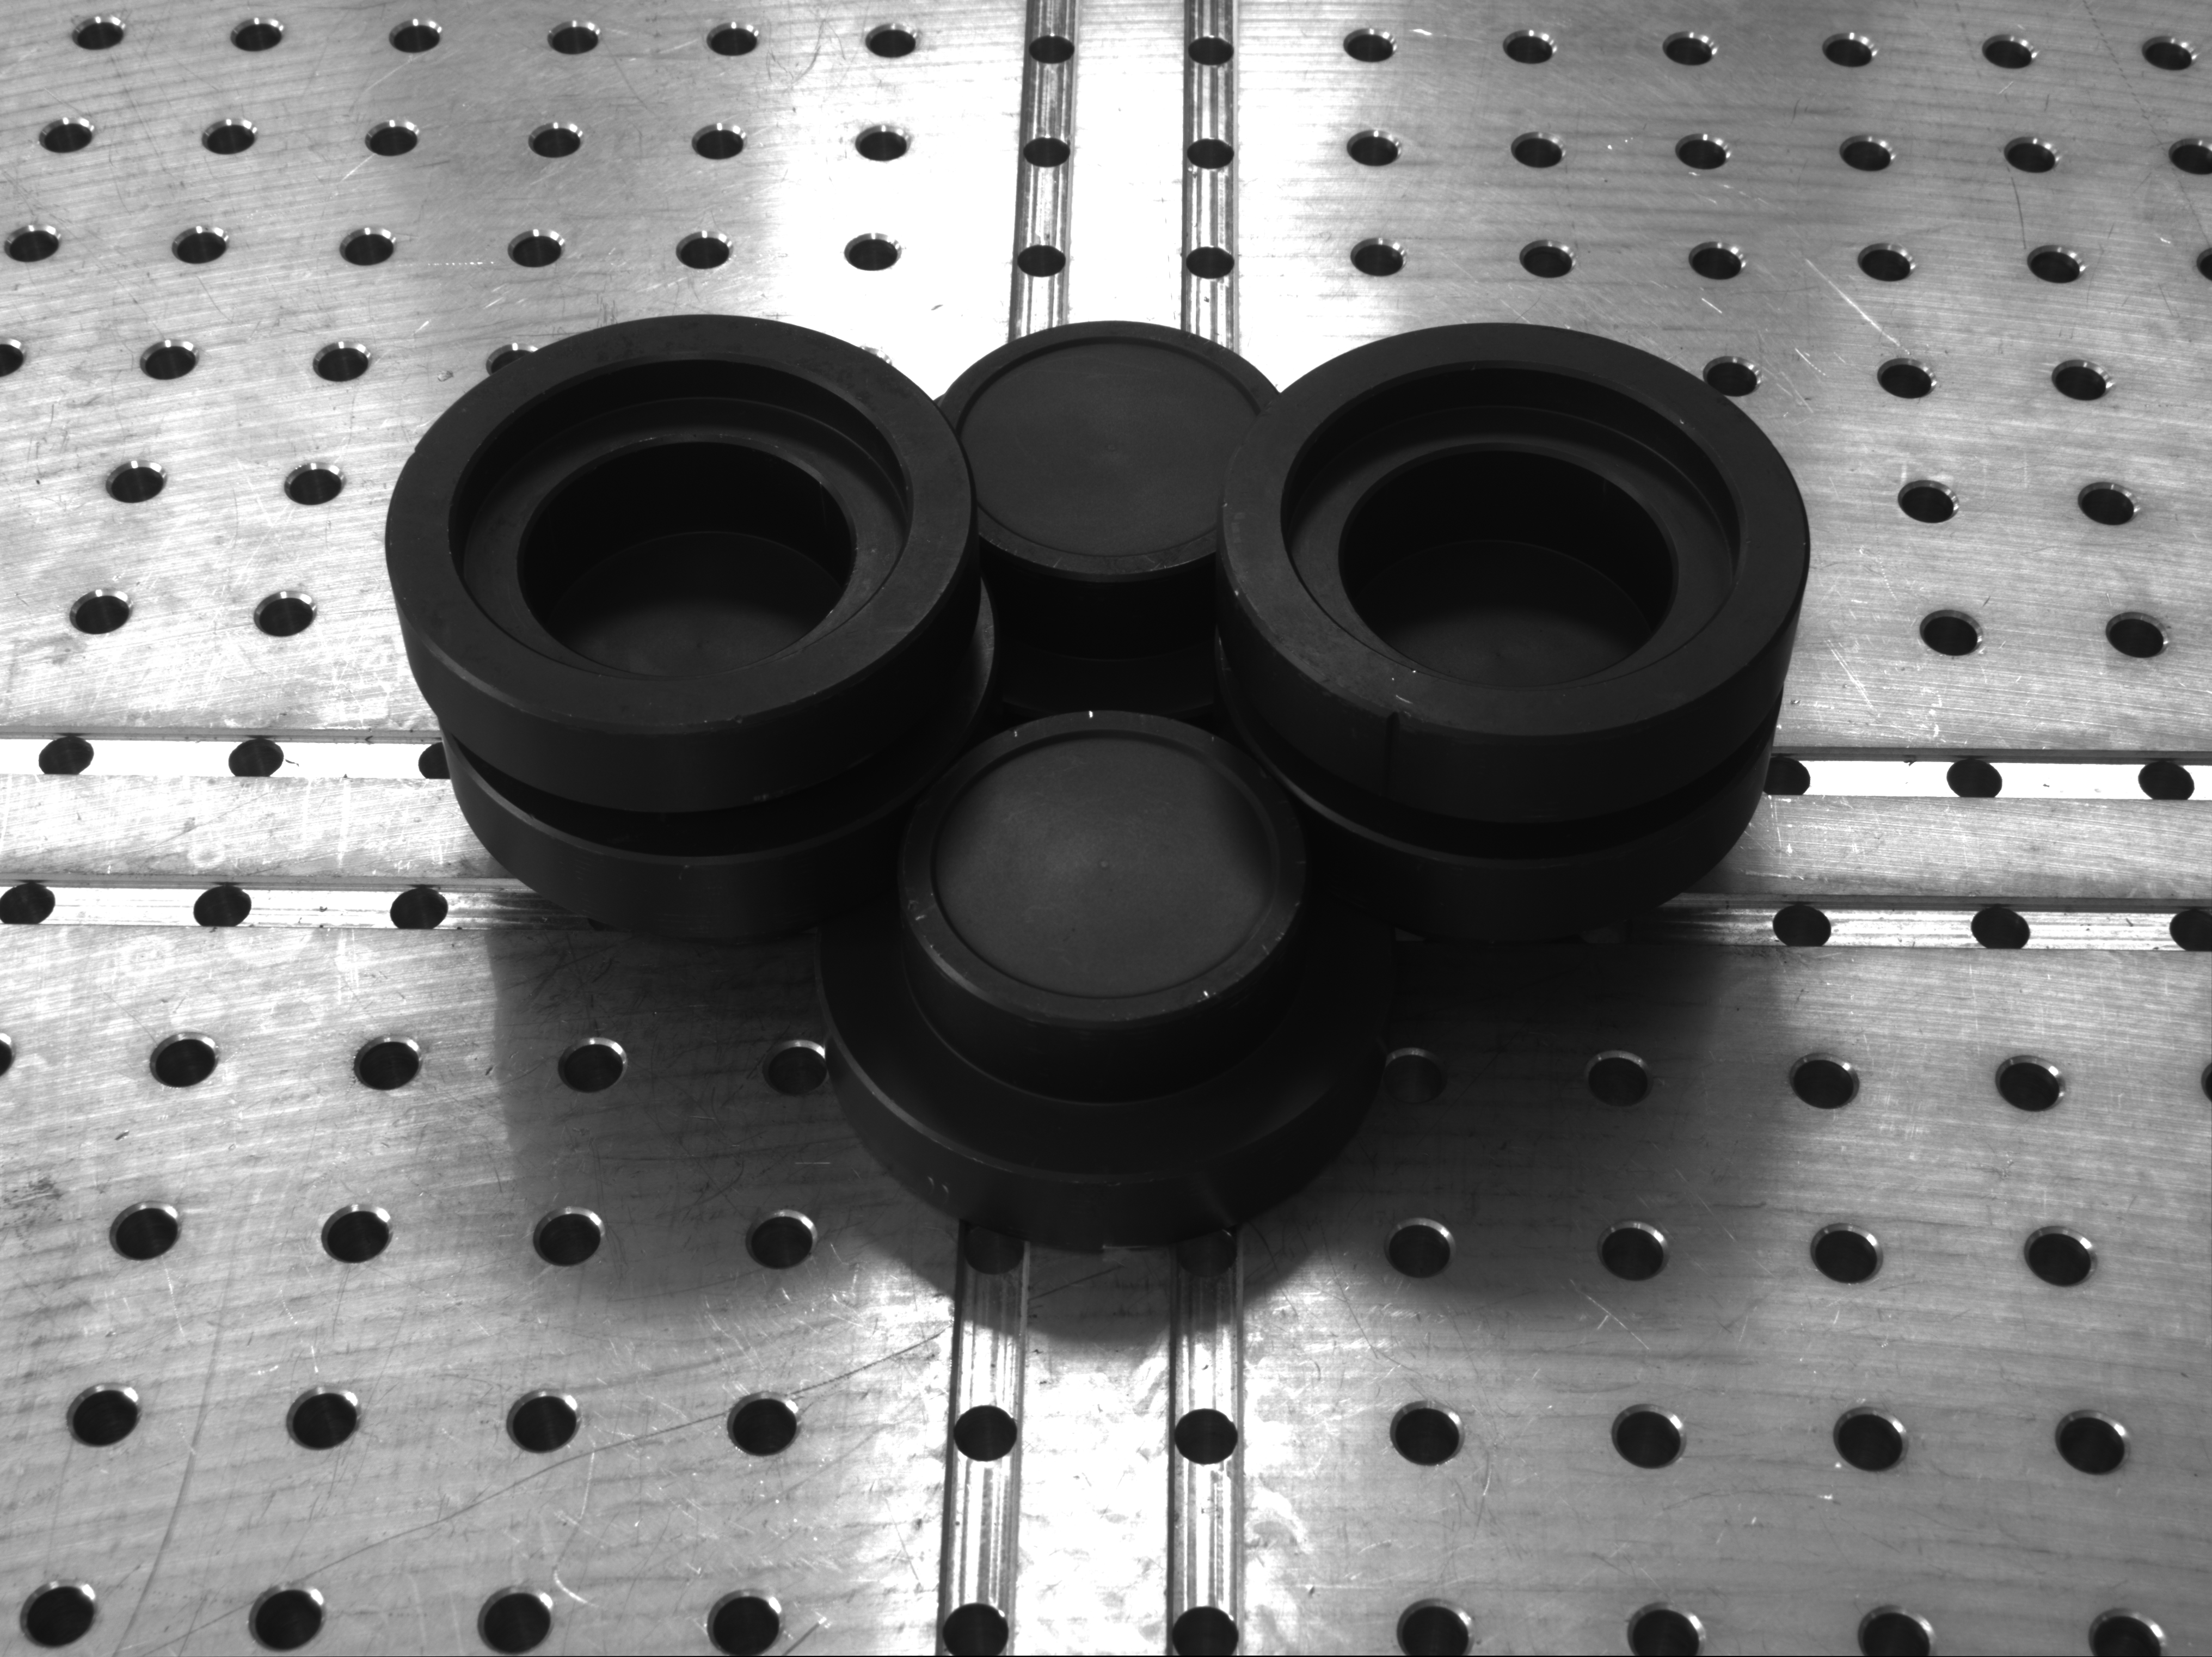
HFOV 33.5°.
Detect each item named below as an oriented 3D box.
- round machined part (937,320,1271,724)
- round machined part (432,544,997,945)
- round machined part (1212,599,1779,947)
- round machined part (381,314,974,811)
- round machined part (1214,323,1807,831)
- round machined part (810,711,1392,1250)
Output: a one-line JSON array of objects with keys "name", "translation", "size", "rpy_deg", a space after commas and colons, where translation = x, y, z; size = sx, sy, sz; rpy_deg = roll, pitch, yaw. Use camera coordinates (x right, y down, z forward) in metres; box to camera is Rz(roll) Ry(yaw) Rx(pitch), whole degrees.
[{"name": "round machined part", "translation": [0.000, -0.056, 0.682], "size": [0.098, 0.042, 0.098], "rpy_deg": [0, 50, 0]}, {"name": "round machined part", "translation": [-0.068, -0.018, 0.650], "size": [0.098, 0.042, 0.098], "rpy_deg": [0, 50, 0]}, {"name": "round machined part", "translation": [0.067, -0.018, 0.649], "size": [0.098, 0.042, 0.098], "rpy_deg": [0, 50, 0]}, {"name": "round machined part", "translation": [-0.071, -0.039, 0.625], "size": [0.098, 0.042, 0.098], "rpy_deg": [0, 50, 0]}, {"name": "round machined part", "translation": [0.067, -0.038, 0.624], "size": [0.098, 0.042, 0.098], "rpy_deg": [0, 50, 0]}, {"name": "round machined part", "translation": [-0.001, 0.019, 0.618], "size": [0.098, 0.042, 0.098], "rpy_deg": [0, 50, 0]}]
